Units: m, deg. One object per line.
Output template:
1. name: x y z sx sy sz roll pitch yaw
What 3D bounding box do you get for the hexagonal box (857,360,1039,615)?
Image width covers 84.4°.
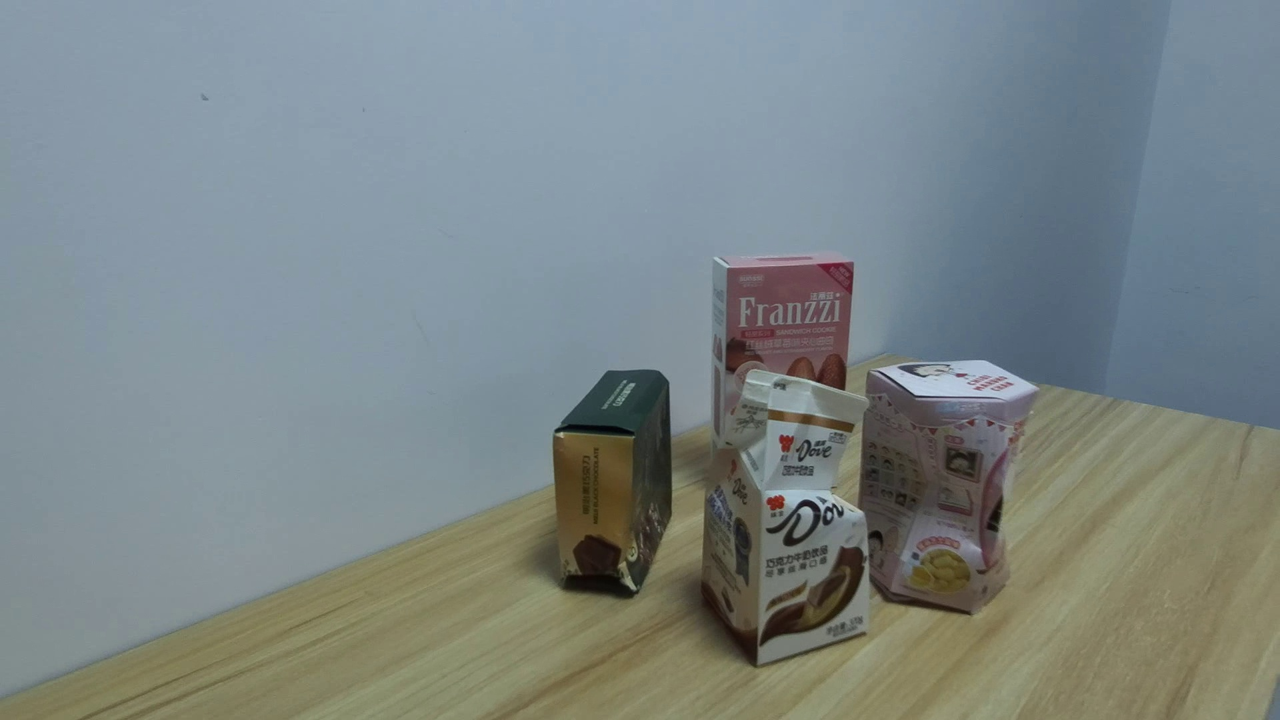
1. hexagonal box: 0.181 0.074 0.426 0.093 0.134 0.089 3 16 12

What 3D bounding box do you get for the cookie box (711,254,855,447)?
1. cookie box: 0.108 0.011 0.552 0.096 0.184 0.048 -3 20 -5

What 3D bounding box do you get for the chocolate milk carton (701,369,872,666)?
1. chocolate milk carton: 0.082 0.076 0.389 0.076 0.155 0.073 -7 20 -19

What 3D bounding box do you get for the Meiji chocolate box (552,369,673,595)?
1. Meiji chocolate box: -0.015 0.076 0.474 0.058 0.116 0.123 4 17 14
